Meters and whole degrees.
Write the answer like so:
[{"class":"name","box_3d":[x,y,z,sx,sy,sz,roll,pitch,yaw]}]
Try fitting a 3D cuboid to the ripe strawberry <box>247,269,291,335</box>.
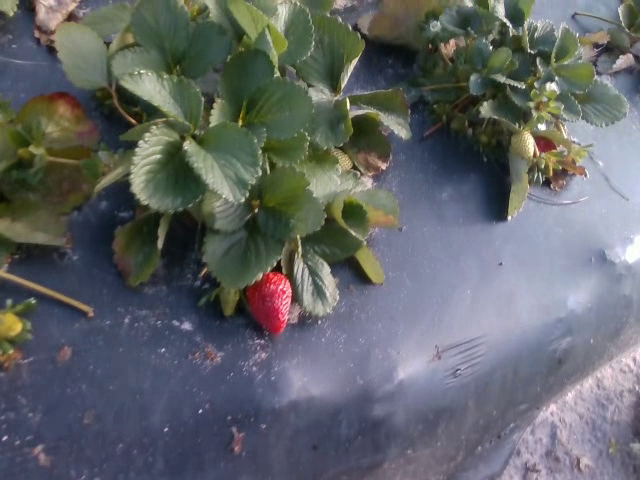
[{"class":"ripe strawberry","box_3d":[-0.023,0.034,0.327,0.029,0.036,0.021,-14,-15,-19]}]
